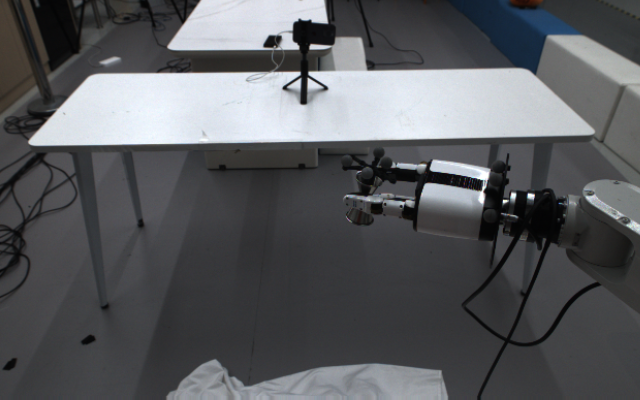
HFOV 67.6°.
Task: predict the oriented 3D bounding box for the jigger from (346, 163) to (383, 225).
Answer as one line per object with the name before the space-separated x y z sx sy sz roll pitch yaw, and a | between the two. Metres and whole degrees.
jigger | 0.065 -0.002 0.719 0.043 0.071 0.043 9 30 -5
